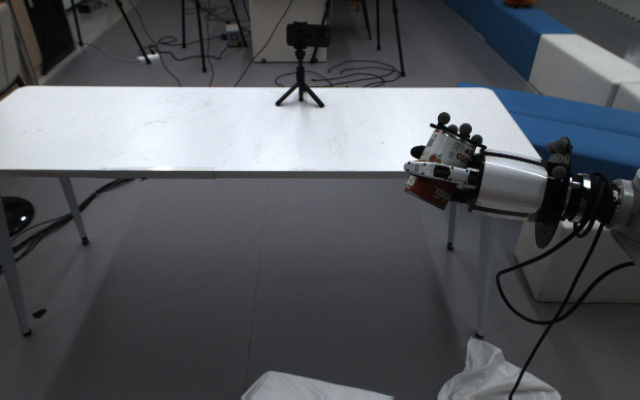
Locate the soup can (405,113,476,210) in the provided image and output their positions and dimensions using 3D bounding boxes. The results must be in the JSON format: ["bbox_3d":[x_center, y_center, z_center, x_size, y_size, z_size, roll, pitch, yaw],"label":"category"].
[{"bbox_3d":[0.176,-0.045,0.710,0.067,0.101,0.067,26,5,-3],"label":"soup can"}]
